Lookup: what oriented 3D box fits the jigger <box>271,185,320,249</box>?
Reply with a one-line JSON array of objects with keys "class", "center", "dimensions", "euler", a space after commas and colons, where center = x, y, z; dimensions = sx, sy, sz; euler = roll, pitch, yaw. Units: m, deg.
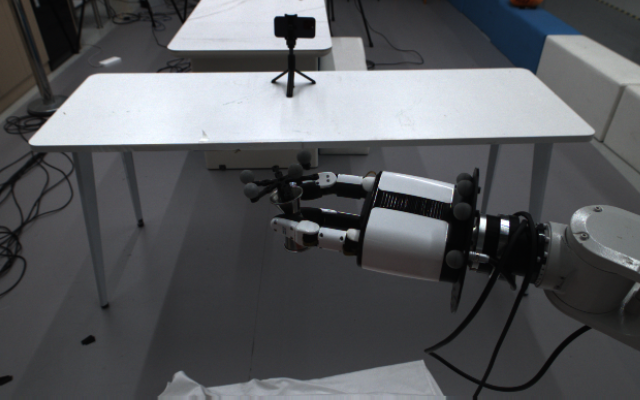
[{"class": "jigger", "center": [-0.029, 0.022, 0.570], "dimensions": [0.043, 0.071, 0.043], "euler": [-12, 29, 7]}]
